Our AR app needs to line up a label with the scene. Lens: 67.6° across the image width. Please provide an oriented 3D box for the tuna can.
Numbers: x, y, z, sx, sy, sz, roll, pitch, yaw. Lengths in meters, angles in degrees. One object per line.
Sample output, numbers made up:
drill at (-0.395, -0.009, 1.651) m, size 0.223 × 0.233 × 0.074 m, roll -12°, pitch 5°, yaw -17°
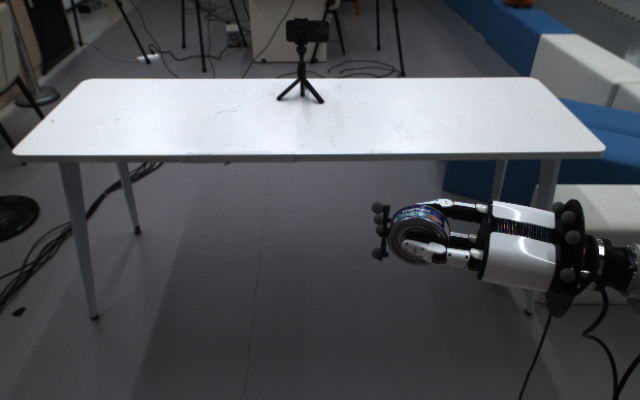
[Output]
tuna can at (0.141, 0.046, 0.685) m, size 0.085 × 0.085 × 0.034 m, roll 9°, pitch 32°, yaw 11°
